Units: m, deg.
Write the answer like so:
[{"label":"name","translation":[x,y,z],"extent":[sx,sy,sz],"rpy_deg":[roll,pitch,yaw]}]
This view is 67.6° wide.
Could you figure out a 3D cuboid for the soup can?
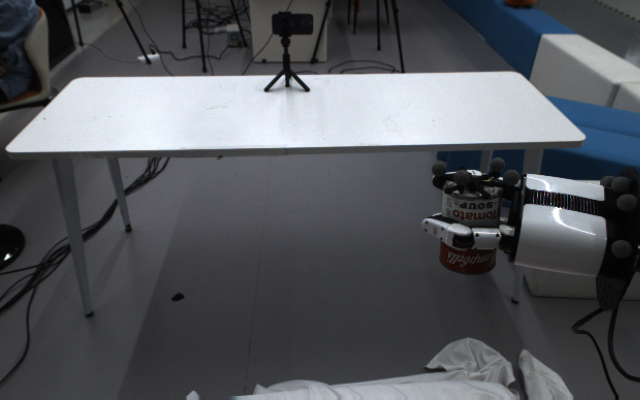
[{"label":"soup can","translation":[0.182,0.028,0.580],"extent":[0.067,0.101,0.067],"rpy_deg":[-3,26,2]}]
